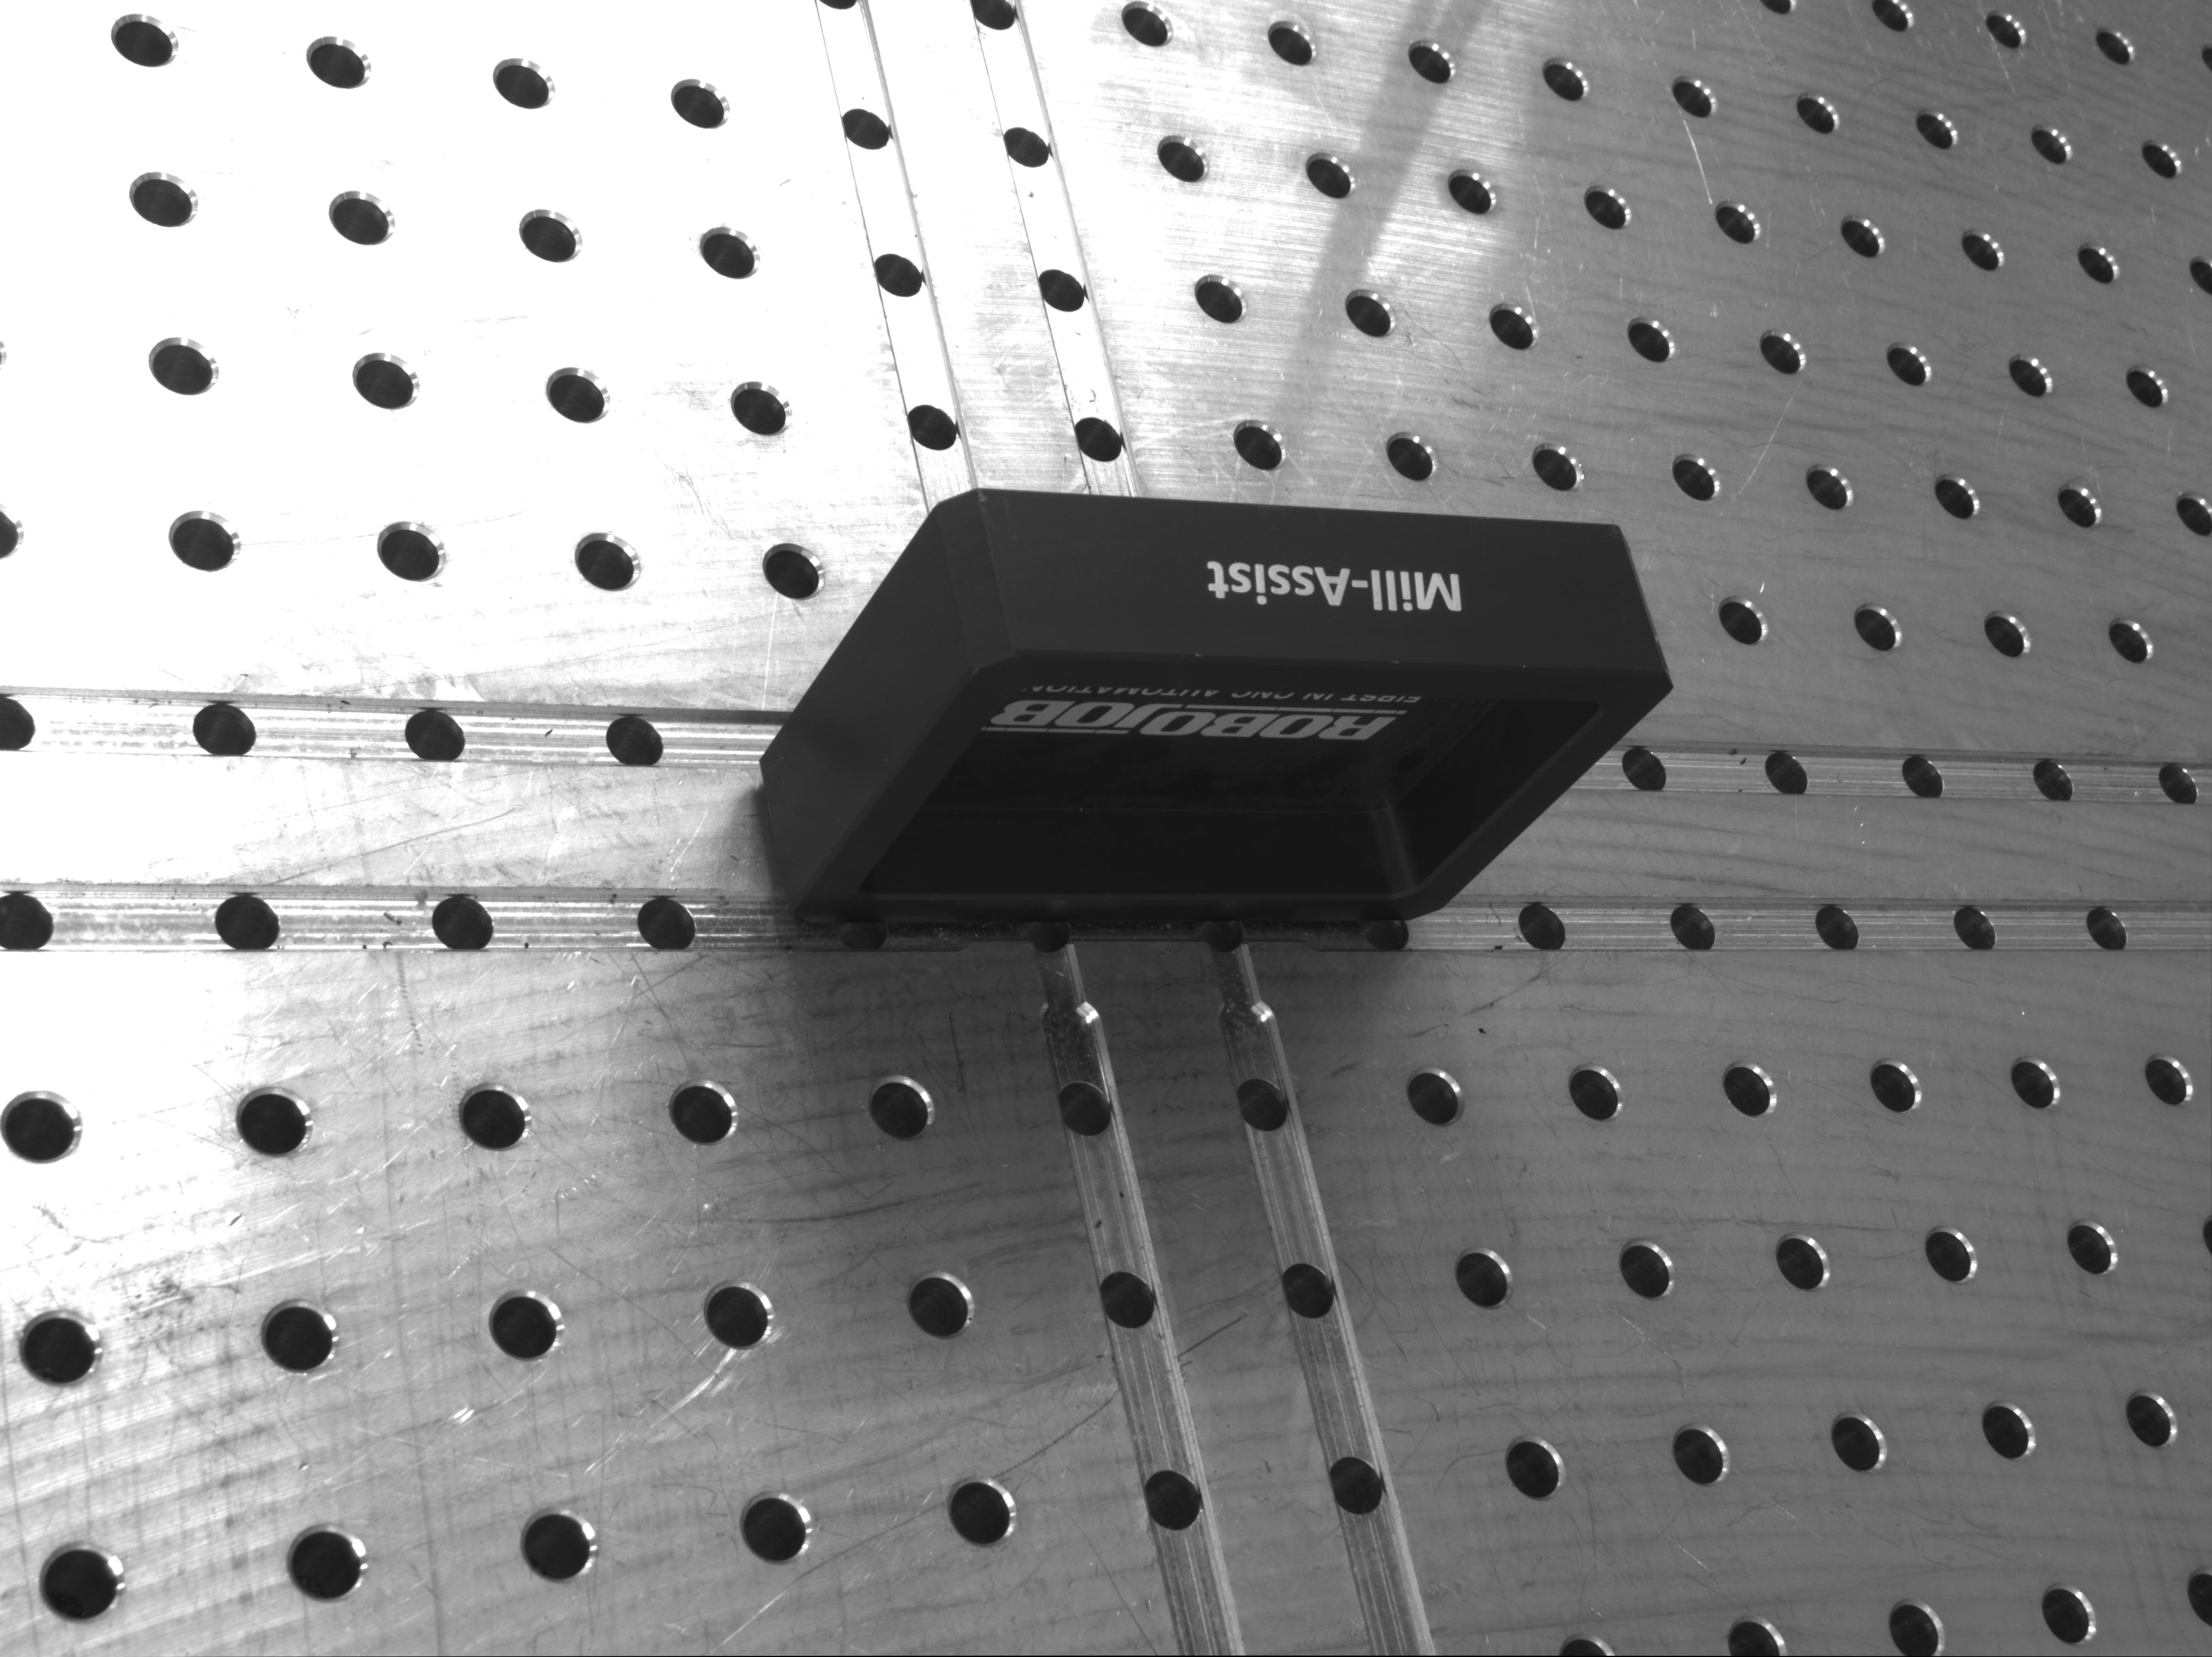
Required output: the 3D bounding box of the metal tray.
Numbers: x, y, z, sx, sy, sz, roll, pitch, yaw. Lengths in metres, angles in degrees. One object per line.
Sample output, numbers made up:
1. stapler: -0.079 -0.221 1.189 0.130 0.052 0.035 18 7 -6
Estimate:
1. metal tray: 0.018 -0.018 0.620 0.130 0.090 0.030 0 62 -28
